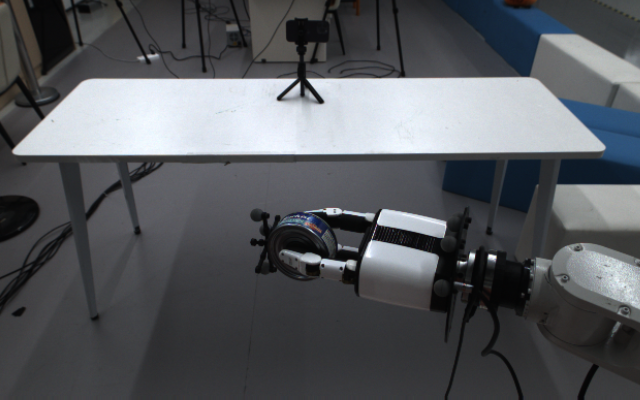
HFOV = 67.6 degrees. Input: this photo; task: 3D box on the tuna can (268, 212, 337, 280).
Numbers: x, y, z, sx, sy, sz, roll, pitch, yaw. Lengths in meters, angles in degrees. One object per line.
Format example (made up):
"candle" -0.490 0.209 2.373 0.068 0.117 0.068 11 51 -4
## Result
"tuna can" -0.019 0.062 0.614 0.085 0.085 0.034 12 28 14
